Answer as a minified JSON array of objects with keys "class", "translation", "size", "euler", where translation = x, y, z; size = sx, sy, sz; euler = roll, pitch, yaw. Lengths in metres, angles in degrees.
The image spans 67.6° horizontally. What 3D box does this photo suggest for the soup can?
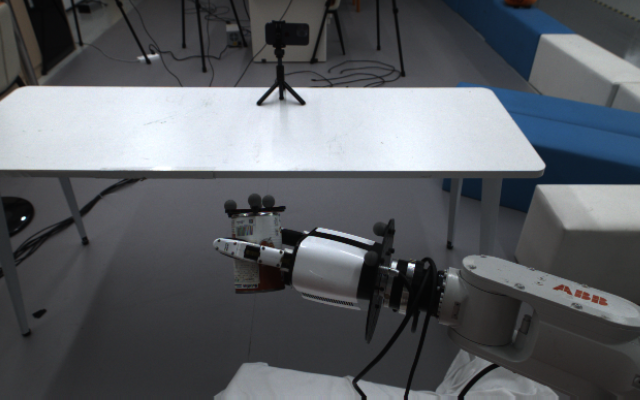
[{"class":"soup can","translation":[-0.081,0.070,0.643],"size":[0.067,0.101,0.067],"euler":[-5,-5,0]}]
